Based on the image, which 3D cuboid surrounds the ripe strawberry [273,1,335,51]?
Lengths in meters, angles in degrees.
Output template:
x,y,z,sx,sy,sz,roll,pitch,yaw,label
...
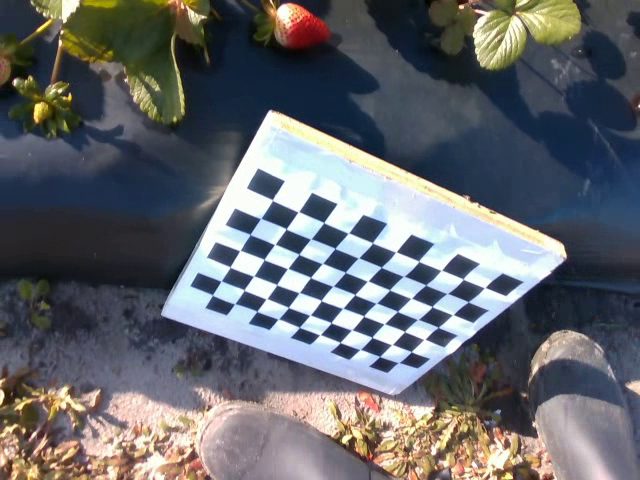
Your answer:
x,y,z,sx,sy,sz,roll,pitch,yaw,label
-0.014,-0.189,0.543,0.063,0.044,0.045,8,-44,-6,ripe strawberry
